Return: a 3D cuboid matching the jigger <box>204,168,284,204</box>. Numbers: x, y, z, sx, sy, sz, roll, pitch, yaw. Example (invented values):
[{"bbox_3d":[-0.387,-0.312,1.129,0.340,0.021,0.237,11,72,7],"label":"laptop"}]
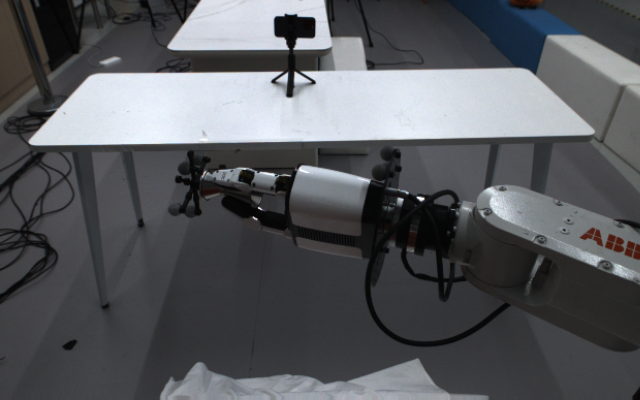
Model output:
[{"bbox_3d":[-0.103,-0.018,0.599,0.071,0.043,0.043,6,35,13],"label":"jigger"}]
